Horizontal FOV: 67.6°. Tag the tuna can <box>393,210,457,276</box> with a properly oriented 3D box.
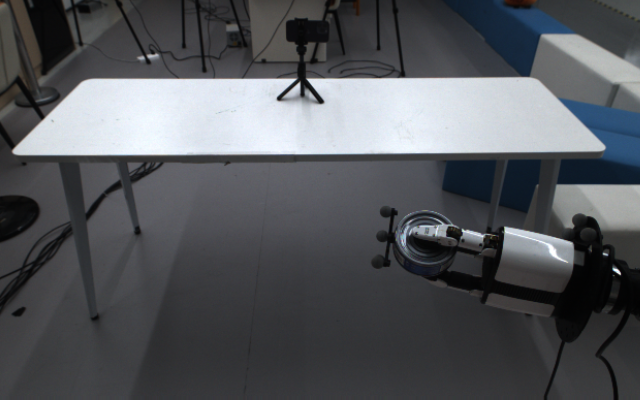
[{"bbox_3d":[0.144,0.055,0.653,0.085,0.034,0.085,-2,57,2],"label":"tuna can"}]
